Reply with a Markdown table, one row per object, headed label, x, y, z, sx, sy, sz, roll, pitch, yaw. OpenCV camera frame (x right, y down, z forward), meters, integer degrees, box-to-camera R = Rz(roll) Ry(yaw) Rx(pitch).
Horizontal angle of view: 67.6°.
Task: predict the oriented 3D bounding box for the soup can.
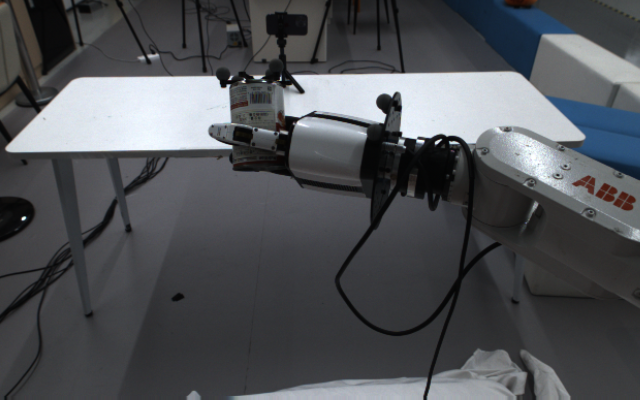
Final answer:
| label | x | y | z | sx | sy | sz | roll | pitch | yaw |
| --- | --- | --- | --- | --- | --- | --- | --- | --- | --- |
| soup can | -0.074 | -0.087 | 0.588 | 0.067 | 0.101 | 0.067 | -3 | -1 | 0 |
